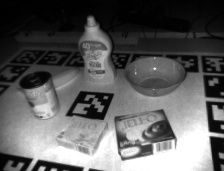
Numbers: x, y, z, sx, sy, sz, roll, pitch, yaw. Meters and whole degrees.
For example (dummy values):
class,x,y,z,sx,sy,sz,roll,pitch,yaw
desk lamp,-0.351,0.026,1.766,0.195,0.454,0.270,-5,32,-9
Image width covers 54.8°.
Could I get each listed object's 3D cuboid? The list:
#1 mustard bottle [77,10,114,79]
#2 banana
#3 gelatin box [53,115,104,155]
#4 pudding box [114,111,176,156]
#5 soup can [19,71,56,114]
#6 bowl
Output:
class,x,y,z,sx,sy,sz,roll,pitch,yaw
mustard bottle,-0.051,-0.111,0.603,0.095,0.193,0.058,3,36,14
banana,-0.193,-0.025,0.660,0.199,0.039,0.073,-26,31,-24
gelatin box,-0.071,0.106,0.476,0.088,0.030,0.073,8,43,20
pudding box,0.066,0.092,0.463,0.114,0.039,0.089,-11,43,-5
soup can,-0.184,0.013,0.540,0.068,0.102,0.067,-3,36,3
bowl,0.118,-0.026,0.601,0.161,0.055,0.161,-5,36,5
